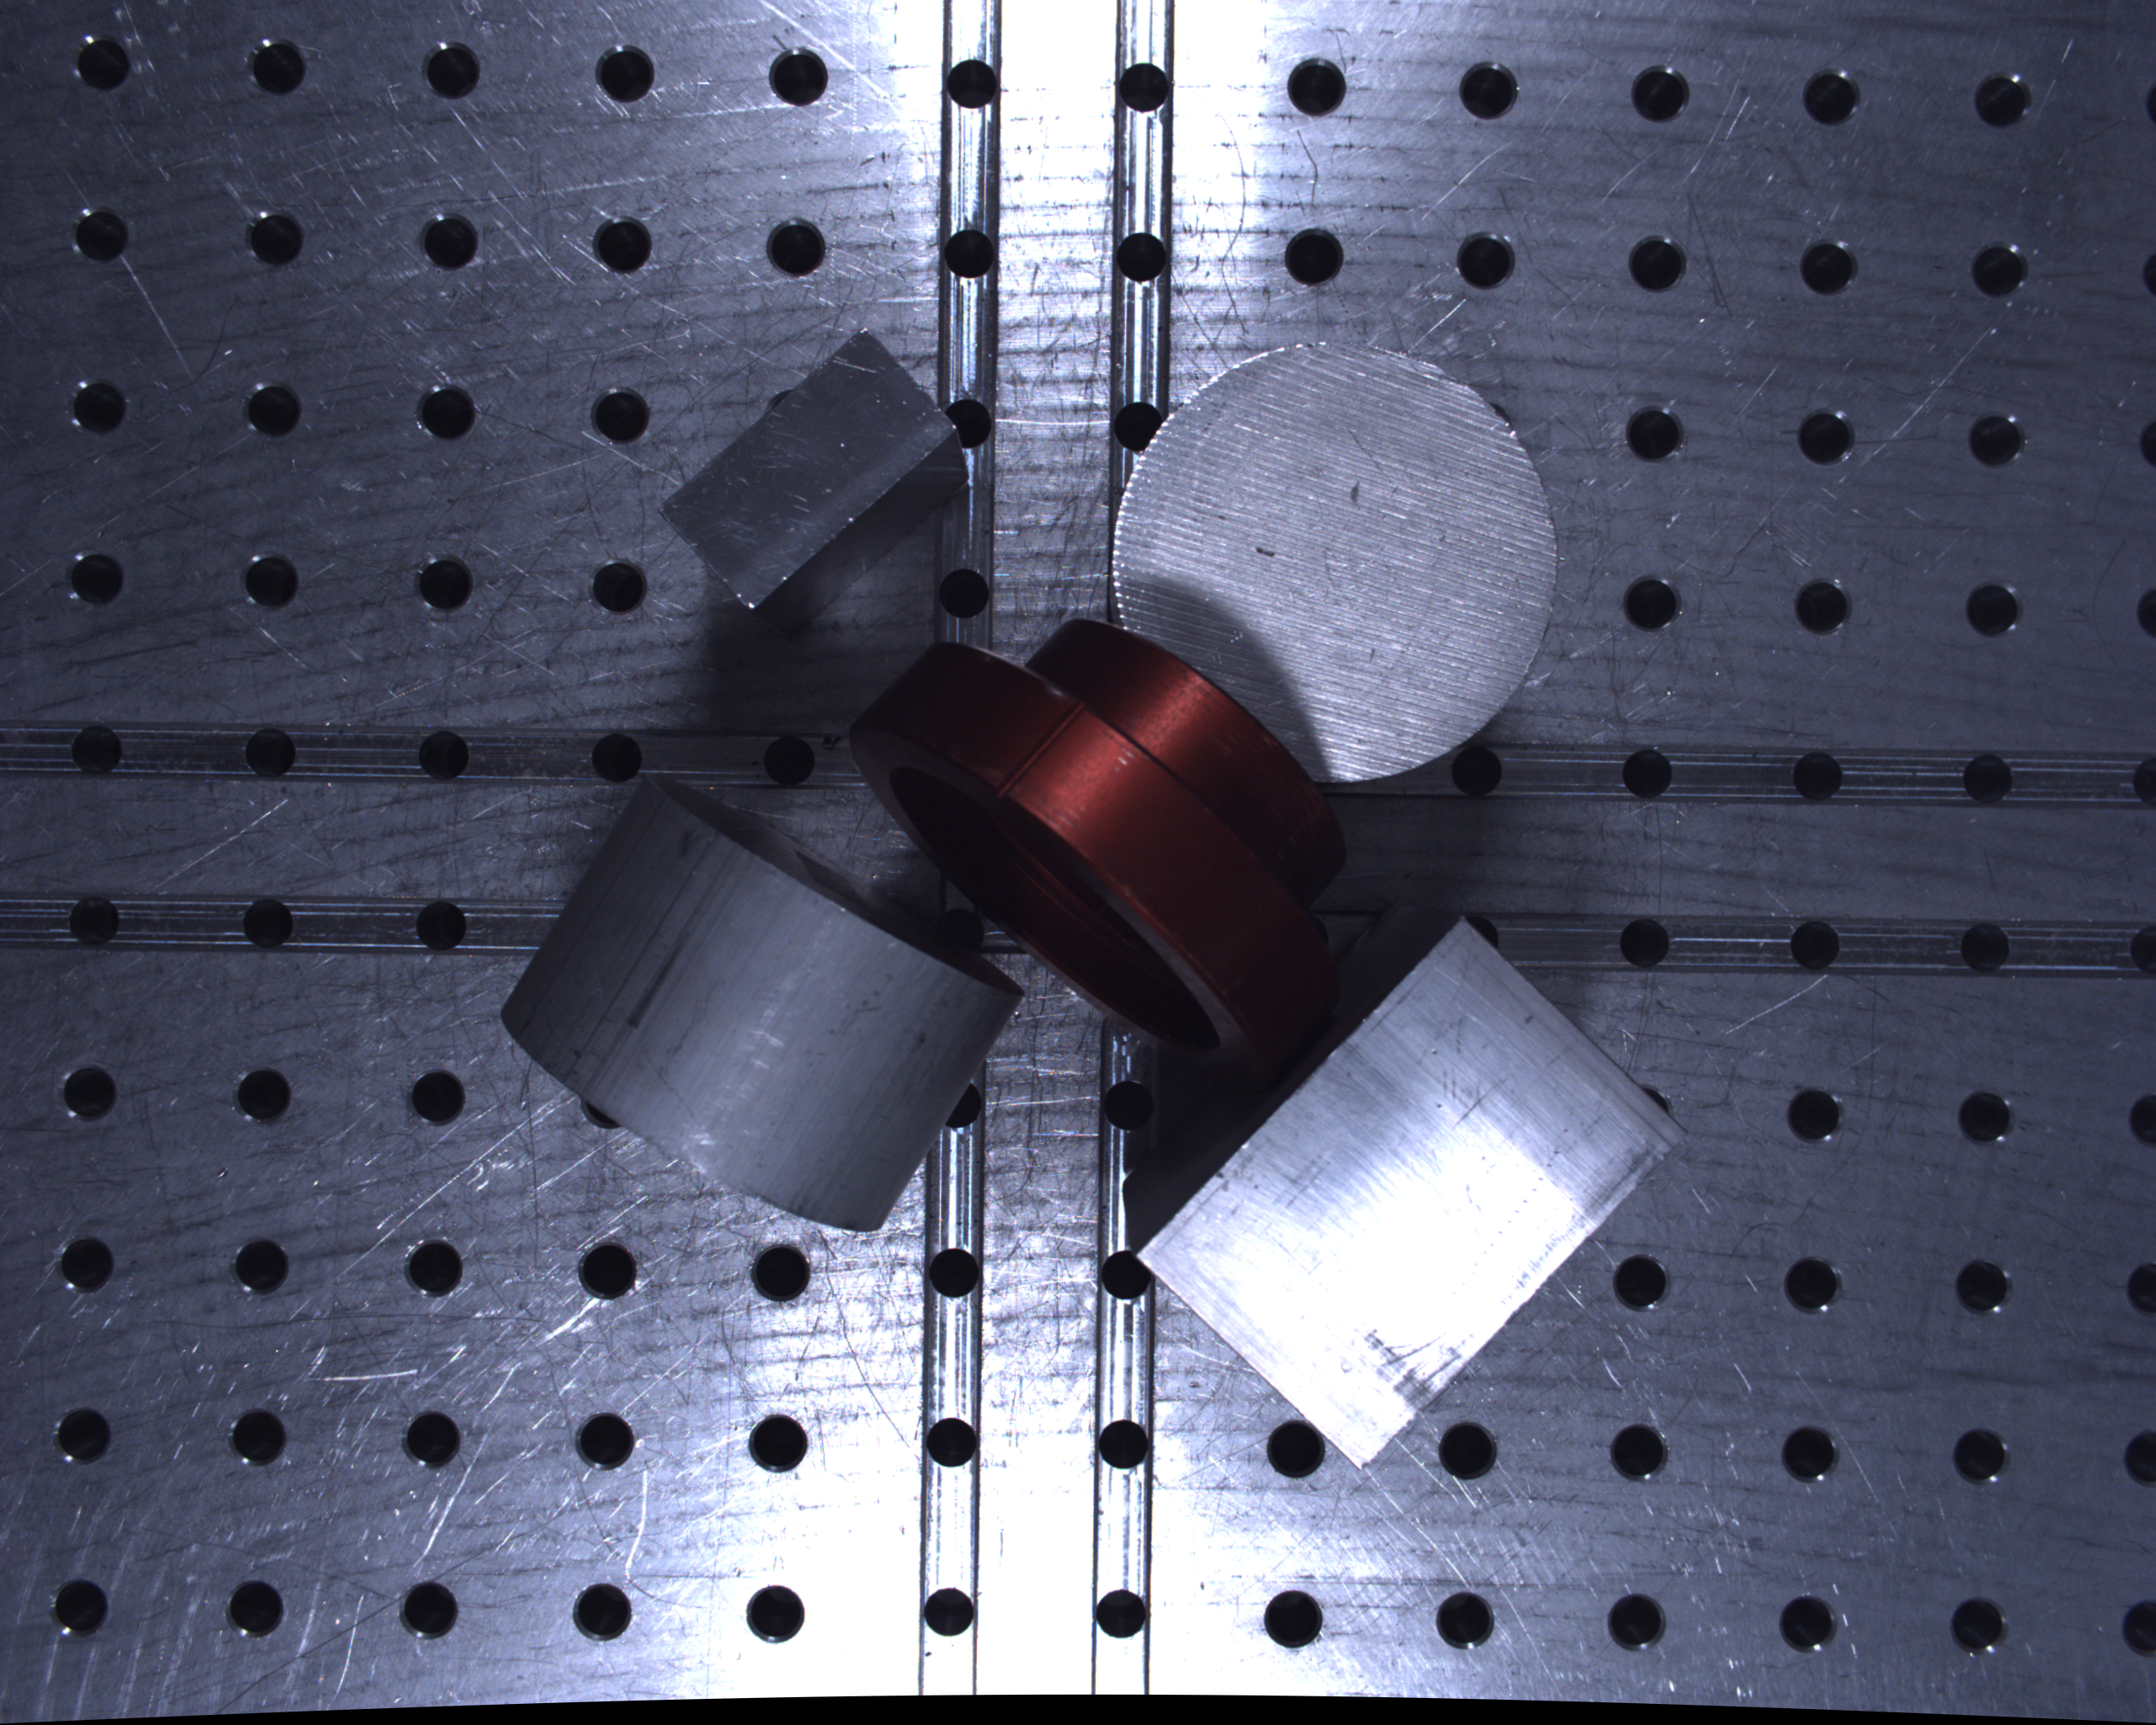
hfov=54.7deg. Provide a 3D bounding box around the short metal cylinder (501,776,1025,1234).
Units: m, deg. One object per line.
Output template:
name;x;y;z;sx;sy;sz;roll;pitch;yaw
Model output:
short metal cylinder;-0.057;0.026;0.385;0.080;0.080;0.050;31;90;-1

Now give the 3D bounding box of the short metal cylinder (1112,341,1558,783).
short metal cylinder;0.046;-0.054;0.401;0.081;0.050;0.079;0;90;-1

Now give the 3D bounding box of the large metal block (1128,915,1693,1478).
large metal block;0.056;0.056;0.387;0.050;0.080;0.080;43;90;-1

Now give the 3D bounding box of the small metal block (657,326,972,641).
small metal block;-0.049;-0.071;0.400;0.050;0.050;0.025;-42;90;0

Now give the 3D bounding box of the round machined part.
round machined part;0.009;-0.006;0.377;0.098;0.098;0.042;41;78;-1
